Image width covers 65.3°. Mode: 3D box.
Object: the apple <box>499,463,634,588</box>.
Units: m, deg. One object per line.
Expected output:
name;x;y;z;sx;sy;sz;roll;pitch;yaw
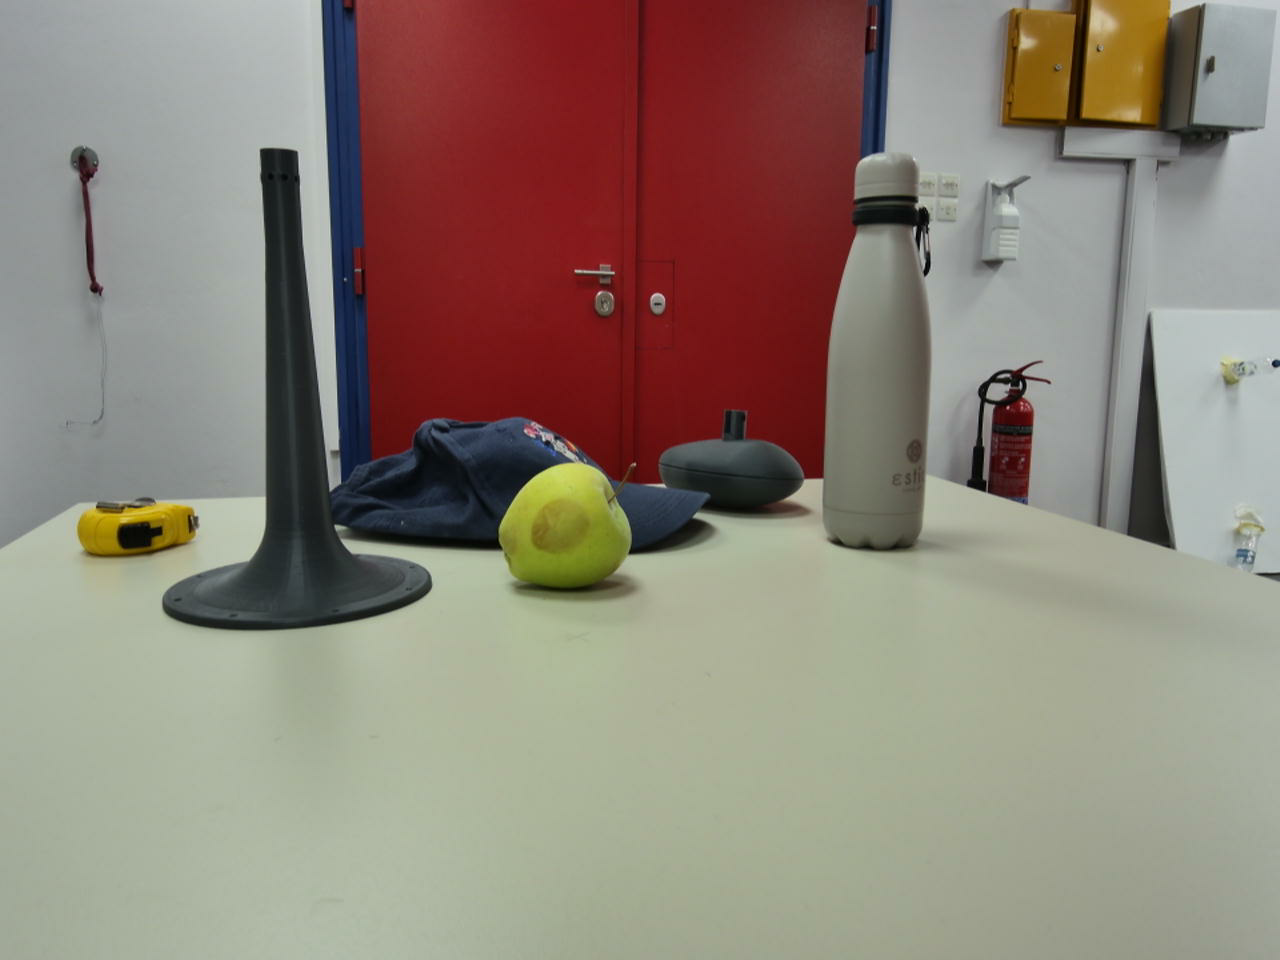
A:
apple;-0.044;0.027;0.608;0.077;0.075;0.072;6;9;31
